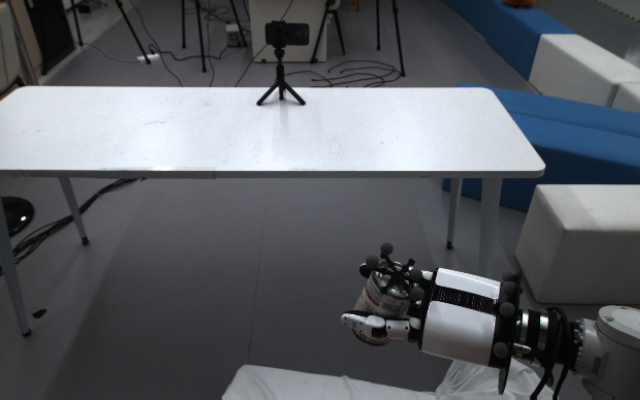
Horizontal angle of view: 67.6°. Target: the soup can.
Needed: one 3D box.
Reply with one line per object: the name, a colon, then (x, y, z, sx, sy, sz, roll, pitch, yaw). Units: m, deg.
soup can: (0.089, 0.143, 0.666, 0.067, 0.101, 0.067, 13, 35, -9)
